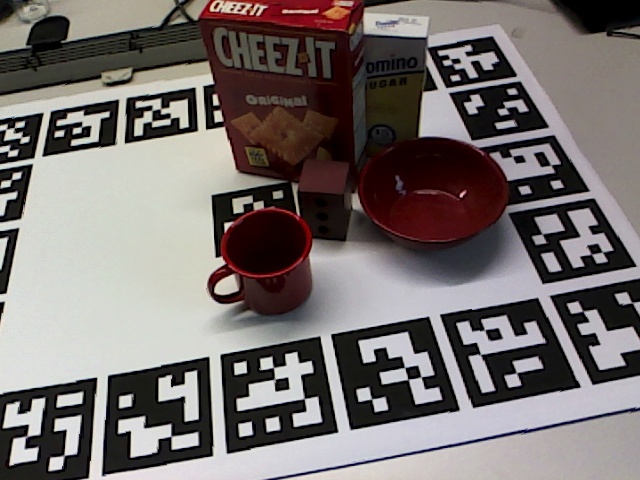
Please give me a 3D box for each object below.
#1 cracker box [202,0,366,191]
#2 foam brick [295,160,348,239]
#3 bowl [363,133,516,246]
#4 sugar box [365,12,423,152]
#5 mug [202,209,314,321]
[{"bbox_3d":[-0.034,-0.165,0.716,0.165,0.213,0.072,13,51,16],"label":"cracker box"},{"bbox_3d":[0.004,-0.046,0.705,0.053,0.078,0.051,1,49,9],"label":"foam brick"},{"bbox_3d":[0.129,-0.046,0.686,0.162,0.055,0.162,-3,51,4],"label":"bowl"},{"bbox_3d":[0.074,-0.183,0.741,0.093,0.176,0.045,6,51,12],"label":"sugar box"},{"bbox_3d":[-0.063,0.032,0.634,0.117,0.081,0.094,-18,42,-6],"label":"mug"}]
